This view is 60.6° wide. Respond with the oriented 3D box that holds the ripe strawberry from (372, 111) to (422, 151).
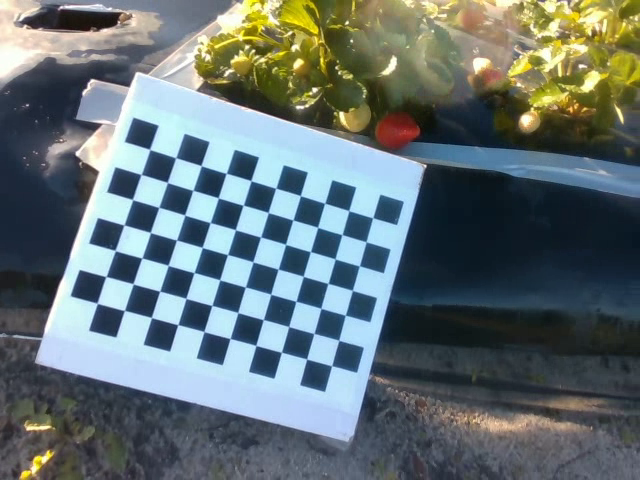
[{"bbox_3d":[0.083,-0.115,0.564,0.048,0.045,0.063,44,-7,-29],"label":"ripe strawberry"}]
